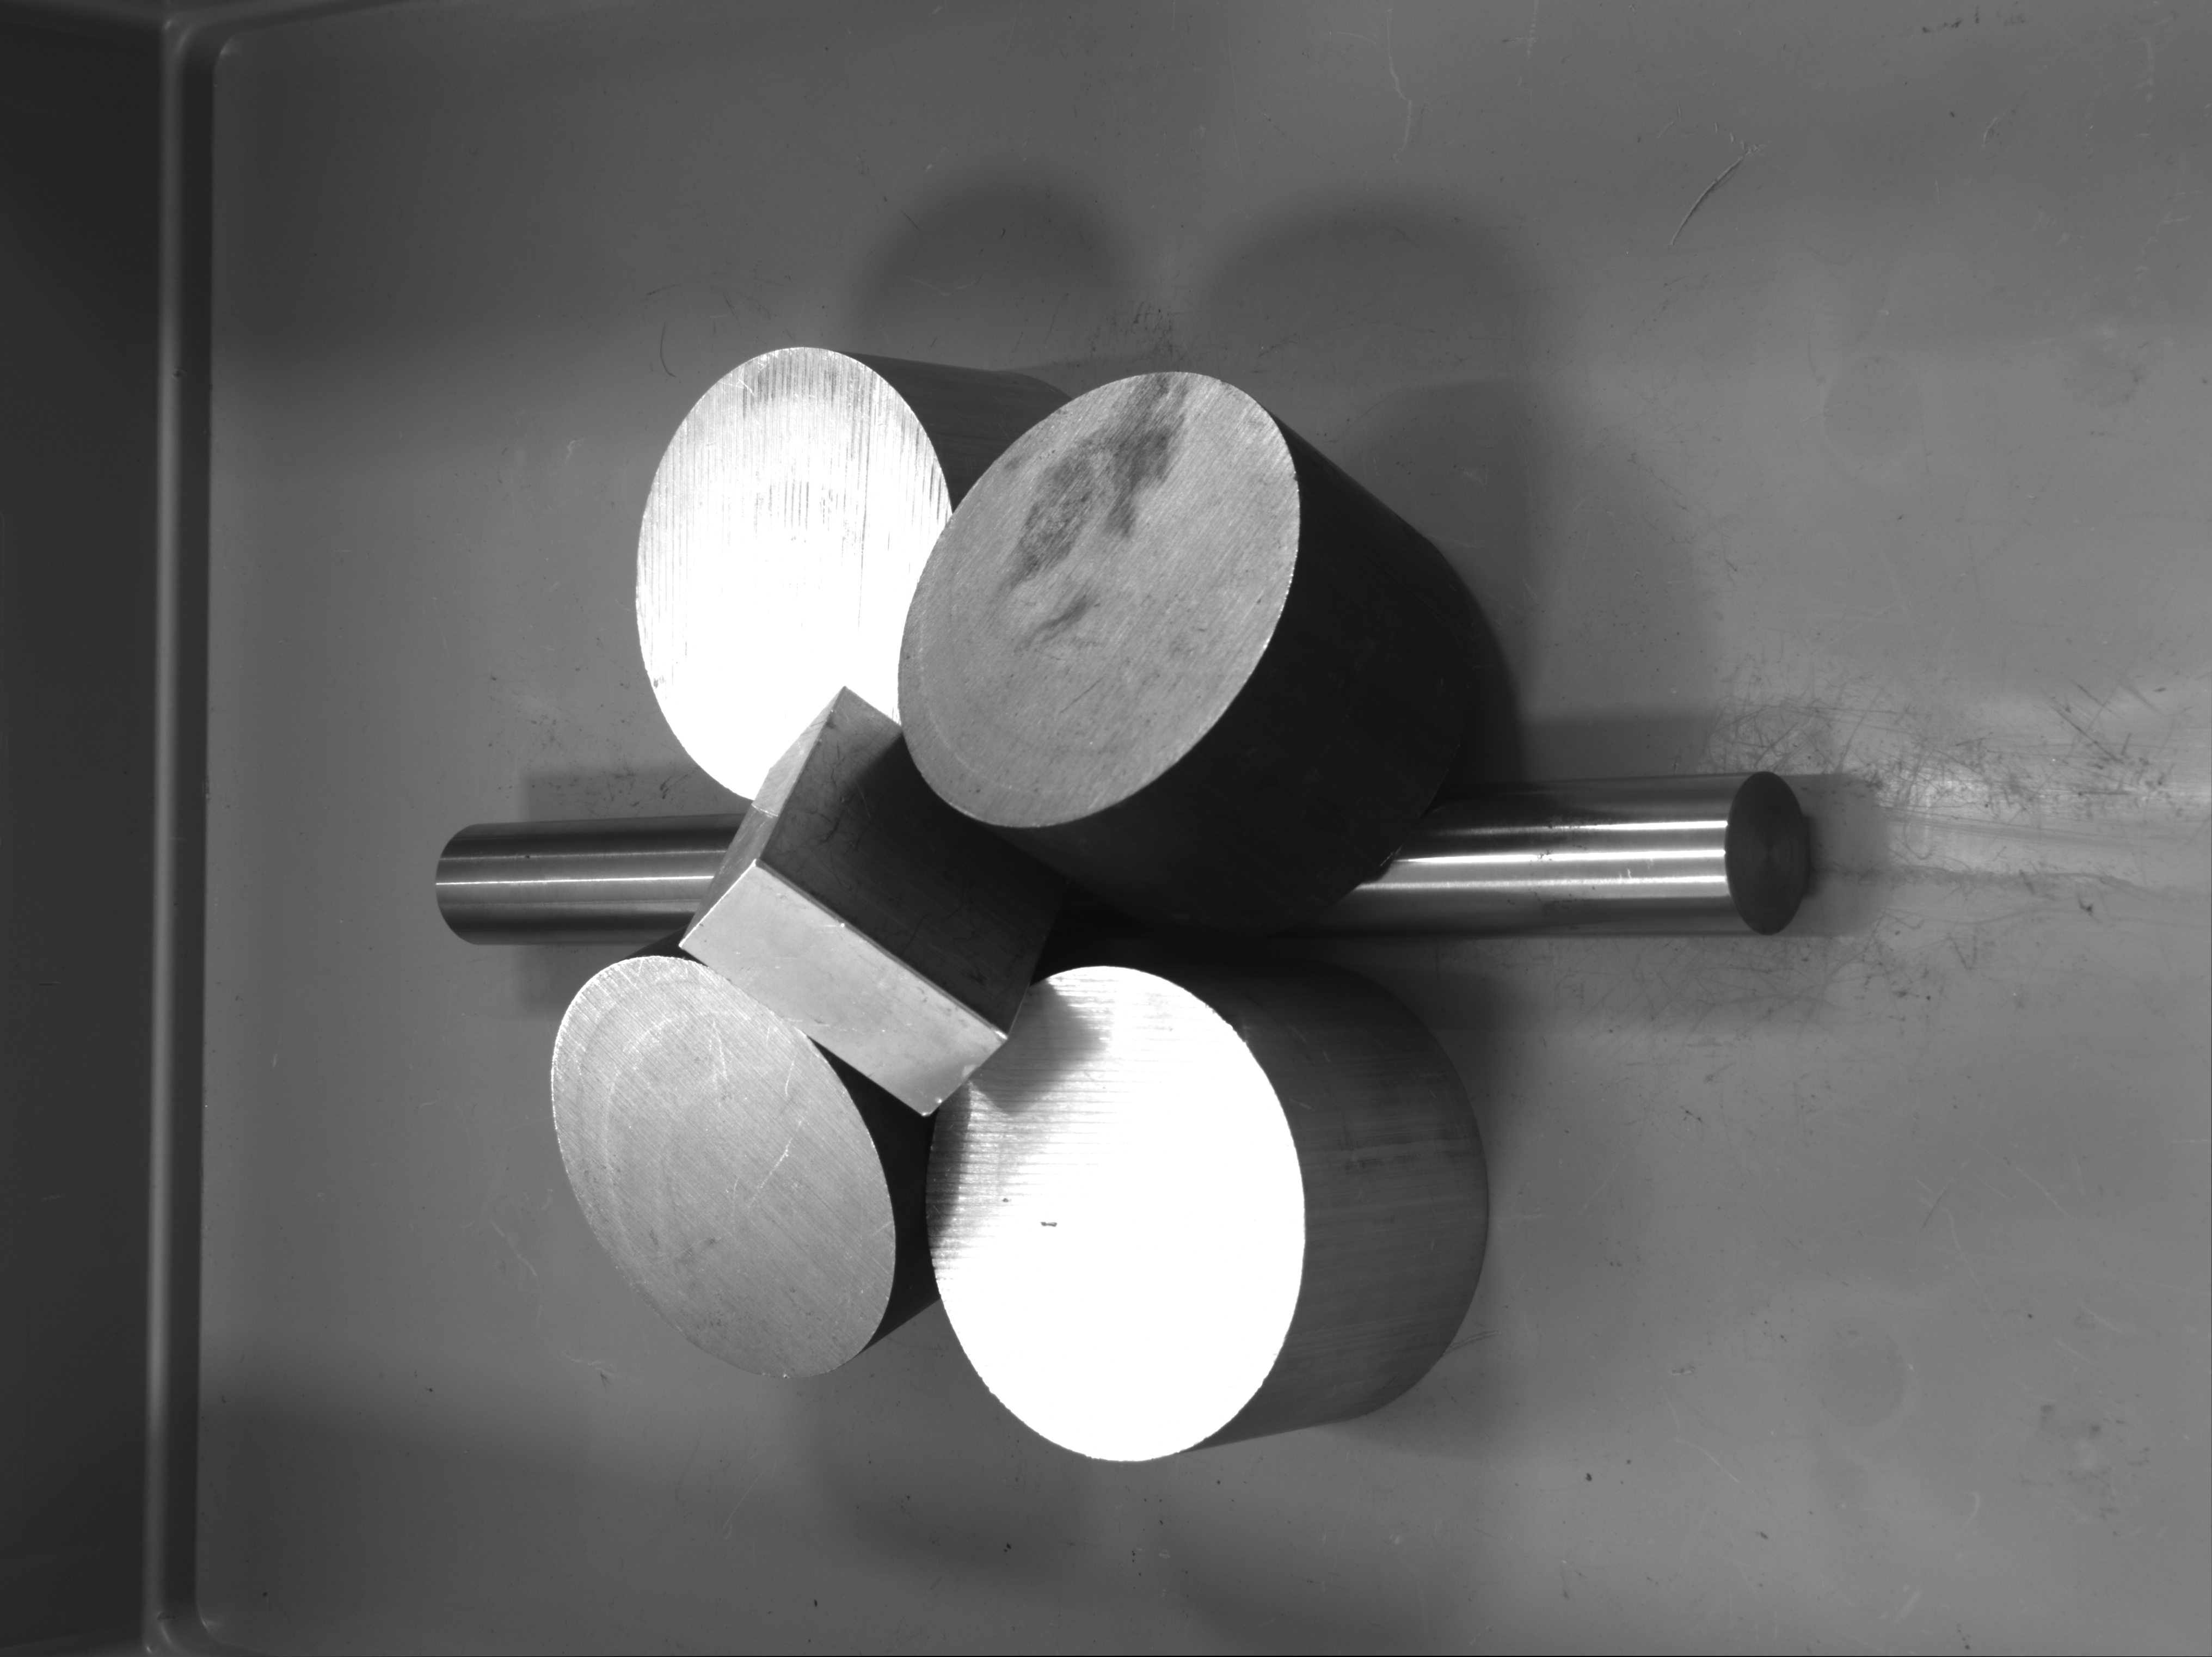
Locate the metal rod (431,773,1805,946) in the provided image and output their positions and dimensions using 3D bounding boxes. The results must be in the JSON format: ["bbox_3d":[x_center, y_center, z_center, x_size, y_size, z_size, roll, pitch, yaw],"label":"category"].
[{"bbox_3d":[-0.014,0.008,0.655,0.299,0.025,0.025,-2,89,40],"label":"metal rod"}]

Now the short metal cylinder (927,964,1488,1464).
[{"bbox_3d":[0.016,0.063,0.613,0.080,0.050,0.080,0,90,40],"label":"short metal cylinder"}]

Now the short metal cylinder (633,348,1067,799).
[{"bbox_3d":[-0.039,-0.044,0.661,0.080,0.050,0.080,0,90,40],"label":"short metal cylinder"}]

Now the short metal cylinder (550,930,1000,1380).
[{"bbox_3d":[-0.053,0.051,0.656,0.080,0.050,0.080,17,120,33],"label":"short metal cylinder"}]

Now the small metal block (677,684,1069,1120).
[{"bbox_3d":[-0.037,0.012,0.612,0.050,0.050,0.025,36,128,-12],"label":"small metal block"}]

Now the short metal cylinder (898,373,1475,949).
[{"bbox_3d":[0.013,-0.027,0.599,0.080,0.050,0.080,-20,55,31],"label":"short metal cylinder"}]
